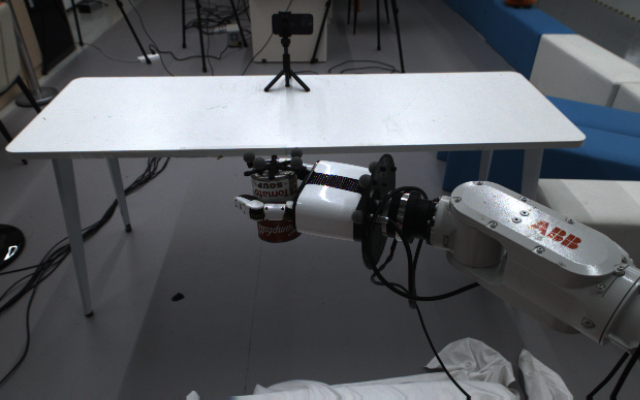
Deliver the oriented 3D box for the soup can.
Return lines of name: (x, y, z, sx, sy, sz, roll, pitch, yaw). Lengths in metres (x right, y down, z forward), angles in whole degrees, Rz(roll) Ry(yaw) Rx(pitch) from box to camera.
soup can: (-0.062, 0.003, 0.708, 0.067, 0.101, 0.067, -4, 25, 2)
